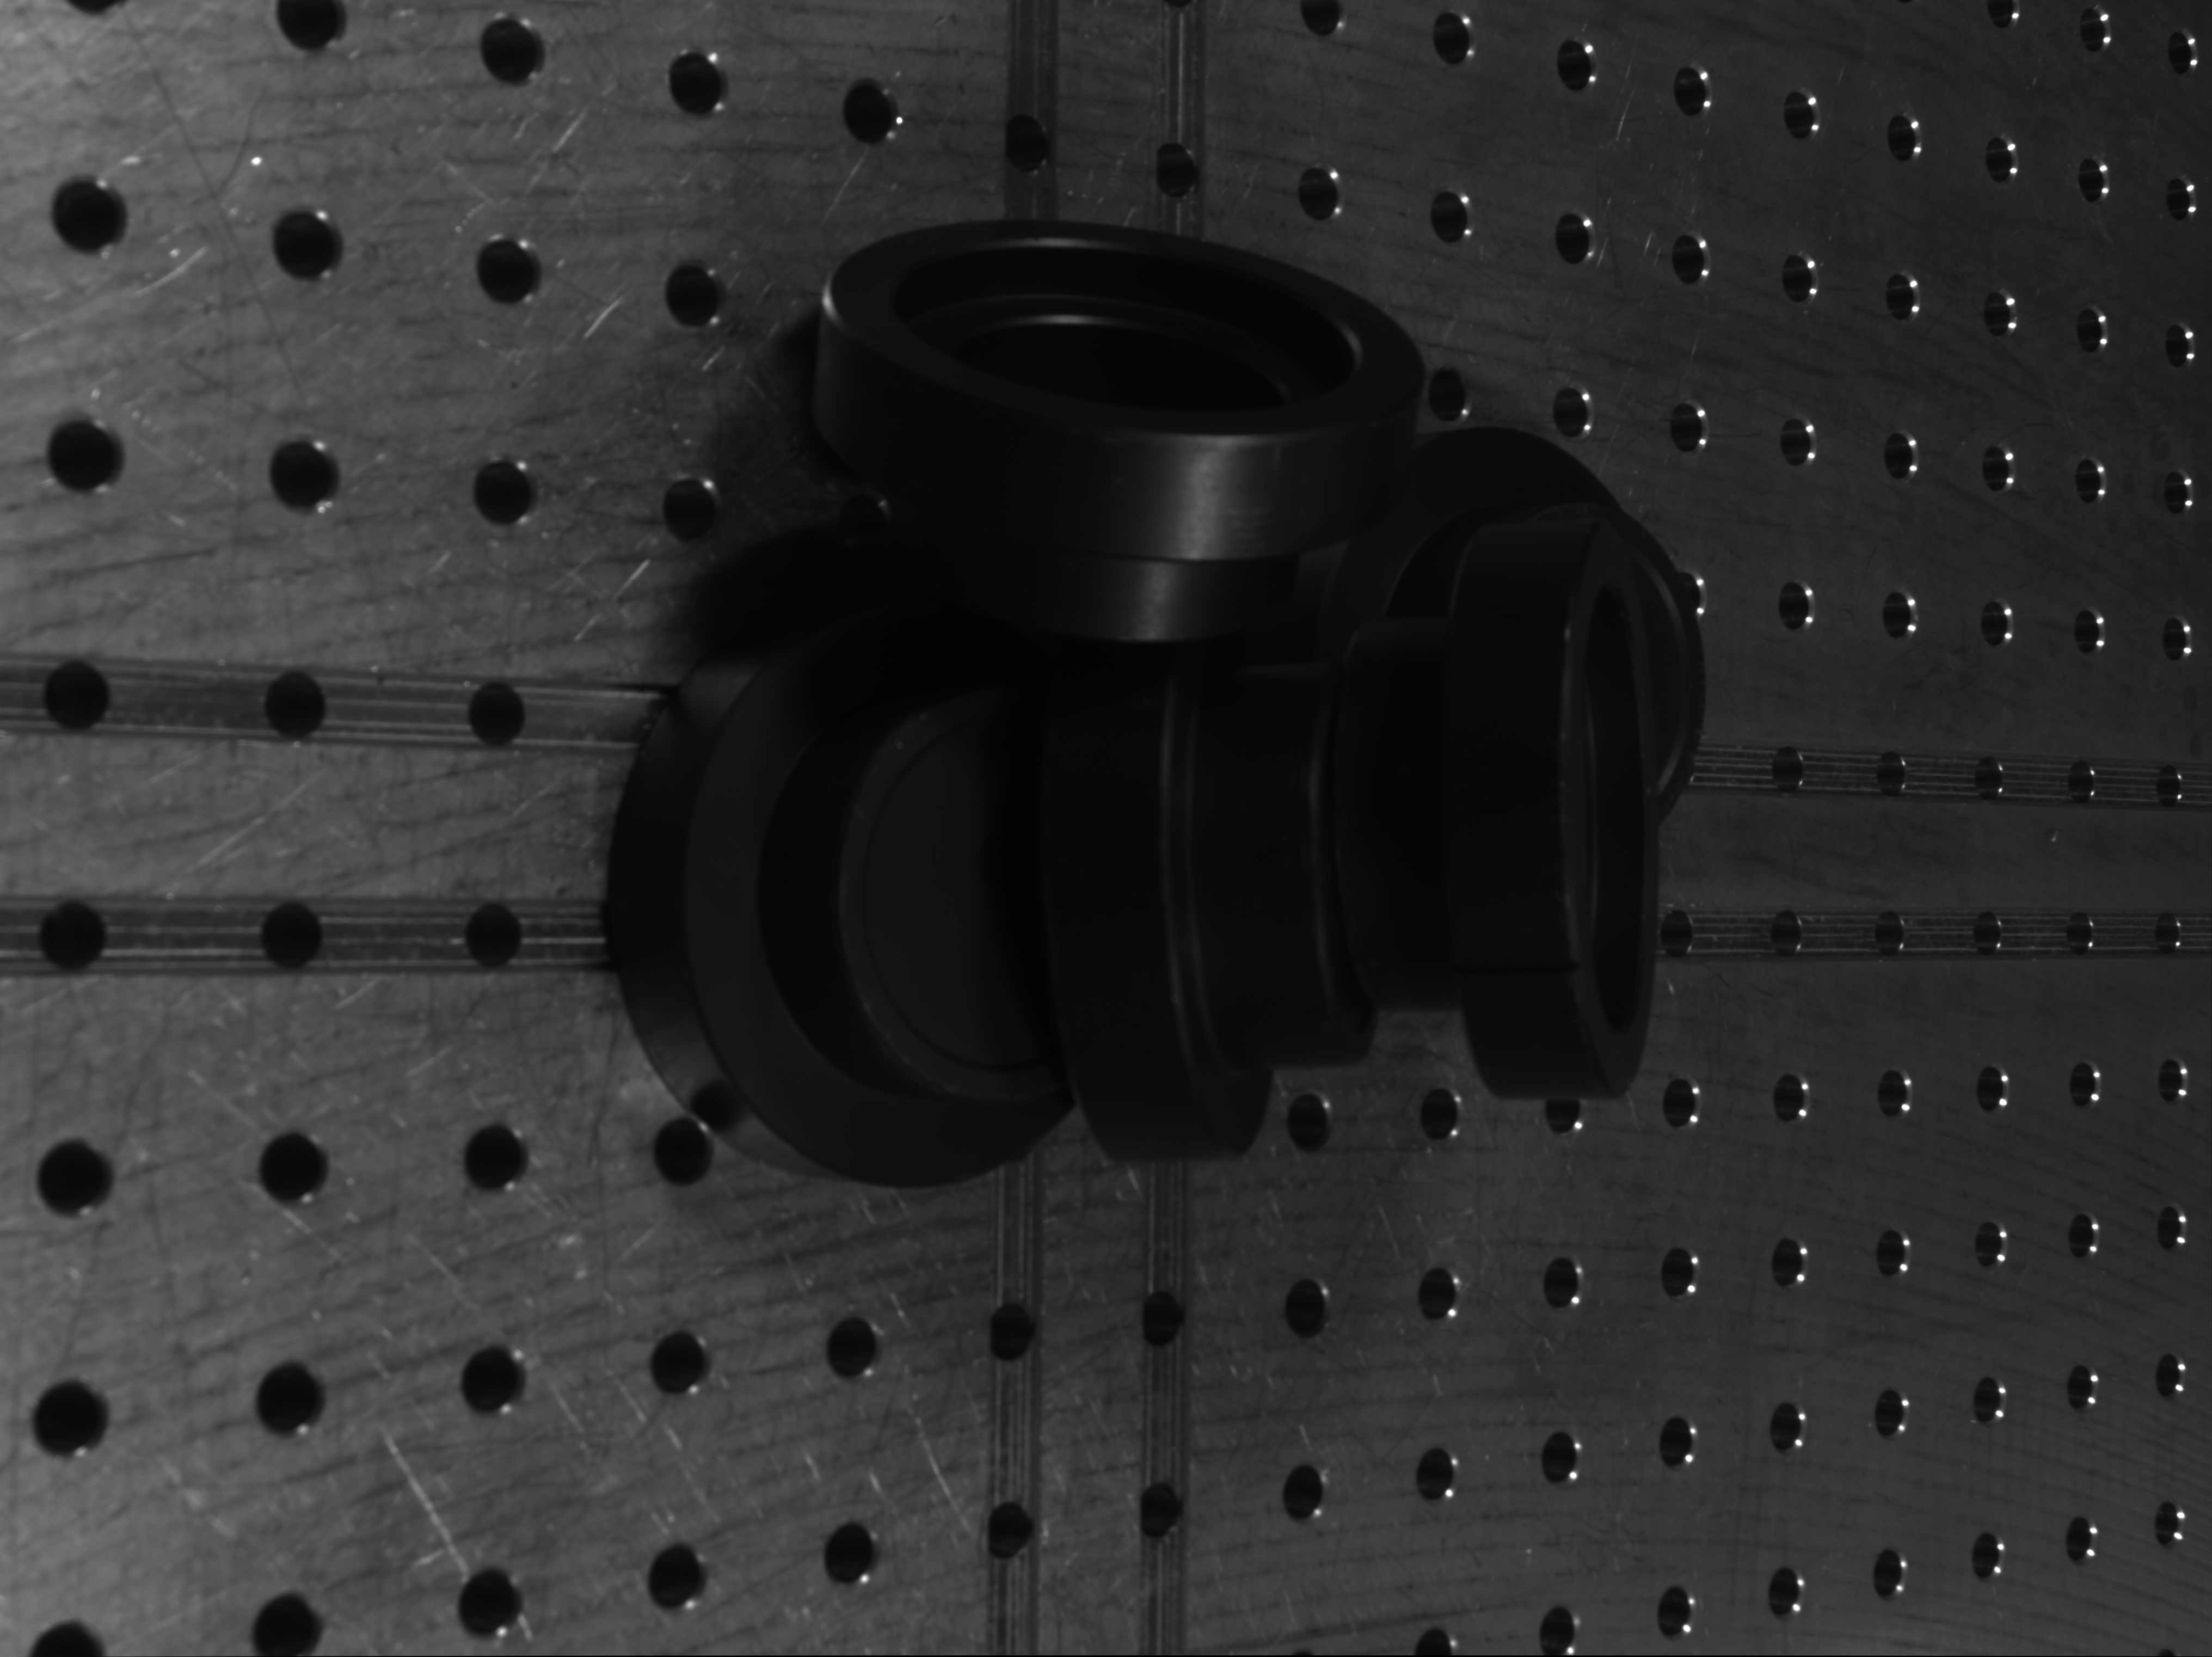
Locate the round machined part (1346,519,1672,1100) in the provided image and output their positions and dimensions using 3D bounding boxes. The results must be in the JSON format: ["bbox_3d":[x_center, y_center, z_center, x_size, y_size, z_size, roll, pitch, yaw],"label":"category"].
[{"bbox_3d":[0.068,-0.003,0.624,0.098,0.042,0.098,-1,90,-73],"label":"round machined part"}]

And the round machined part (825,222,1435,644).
[{"bbox_3d":[0.002,-0.063,0.602,0.098,0.098,0.042,-16,126,-39],"label":"round machined part"}]

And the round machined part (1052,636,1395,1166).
[{"bbox_3d":[0.023,0.007,0.618,0.098,0.042,0.098,-3,90,-77],"label":"round machined part"}]

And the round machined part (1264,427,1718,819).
[{"bbox_3d":[0.078,-0.027,0.694,0.098,0.042,0.098,0,90,-40],"label":"round machined part"}]

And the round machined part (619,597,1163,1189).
[{"bbox_3d":[-0.028,0.011,0.606,0.098,0.042,0.098,0,90,-40],"label":"round machined part"}]
